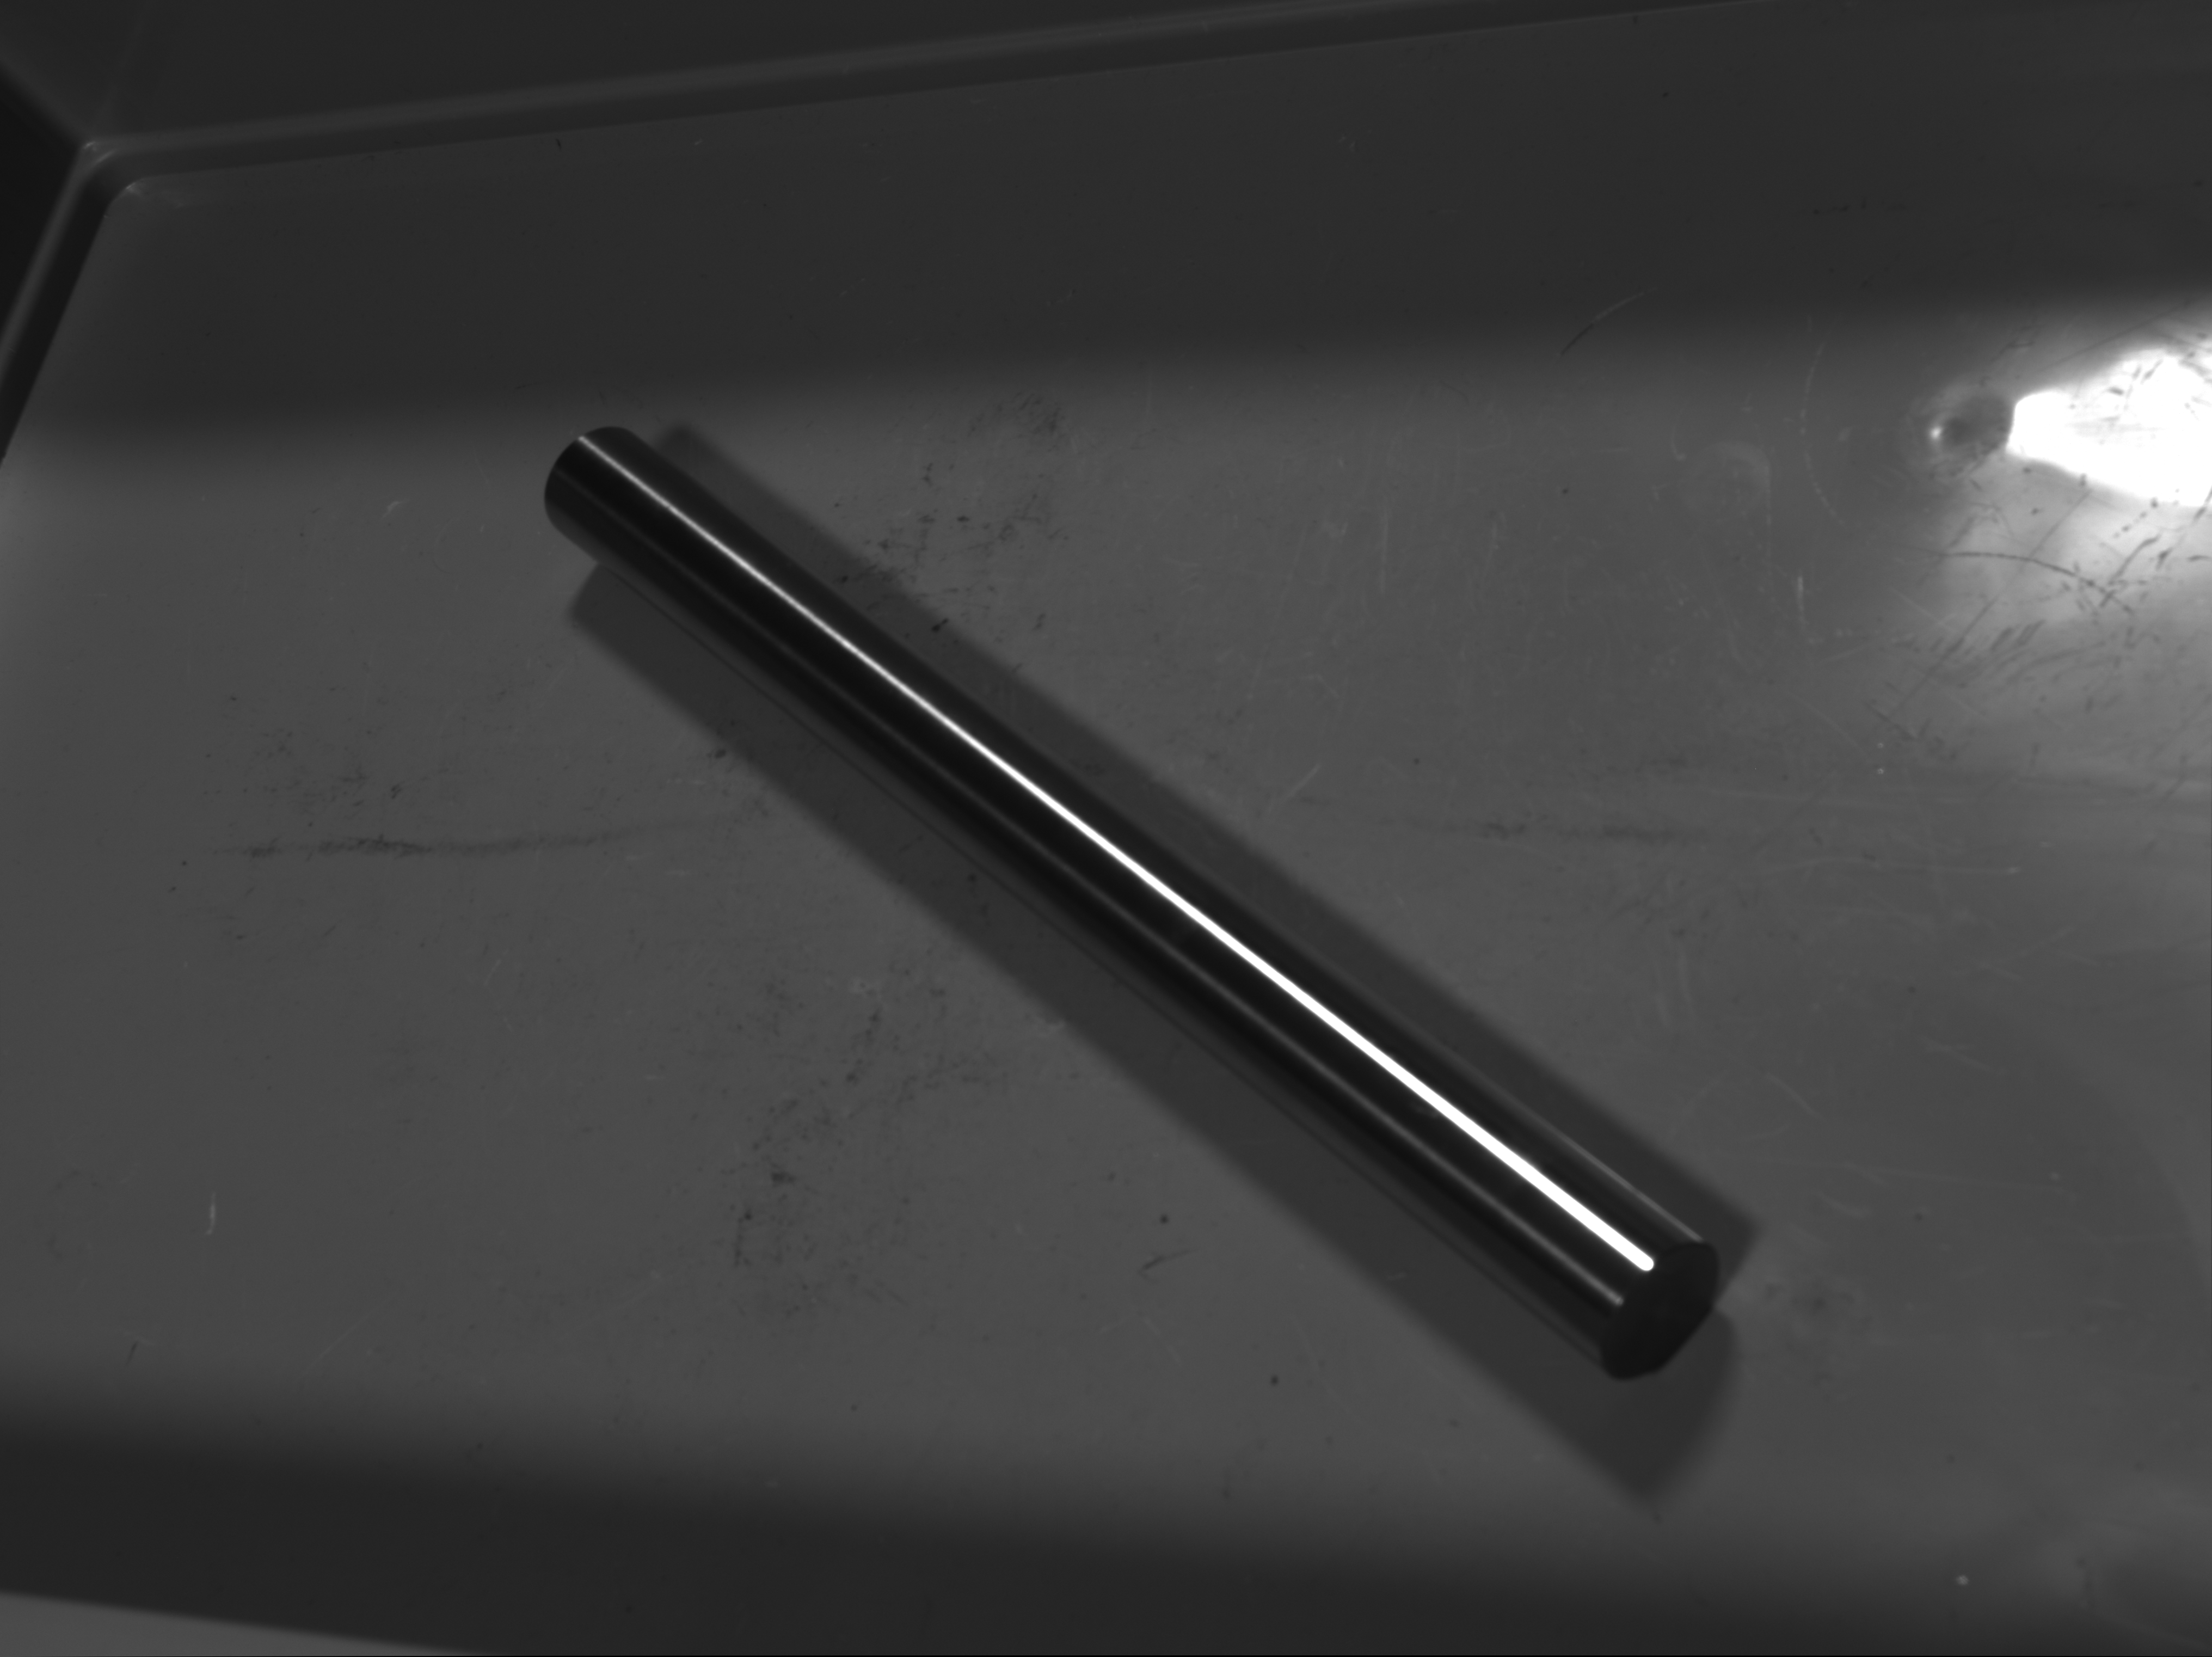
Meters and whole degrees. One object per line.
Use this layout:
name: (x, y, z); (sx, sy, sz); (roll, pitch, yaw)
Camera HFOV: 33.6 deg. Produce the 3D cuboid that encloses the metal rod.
metal rod: (-0.007, 0.002, 0.645); (0.025, 0.025, 0.299); (-48, 51, -6)
